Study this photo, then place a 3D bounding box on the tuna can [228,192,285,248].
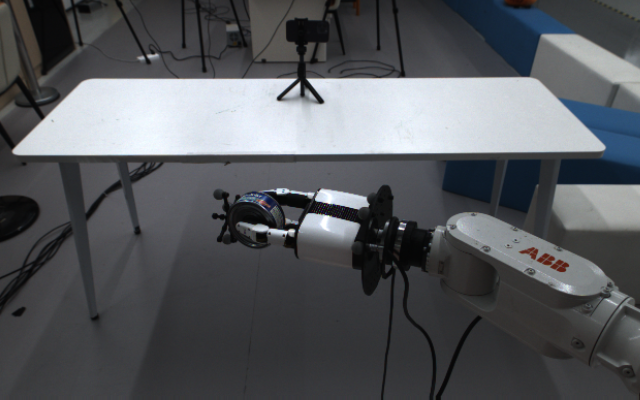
[{"bbox_3d":[-0.097,0.030,0.745,0.085,0.085,0.034,12,28,14],"label":"tuna can"}]
